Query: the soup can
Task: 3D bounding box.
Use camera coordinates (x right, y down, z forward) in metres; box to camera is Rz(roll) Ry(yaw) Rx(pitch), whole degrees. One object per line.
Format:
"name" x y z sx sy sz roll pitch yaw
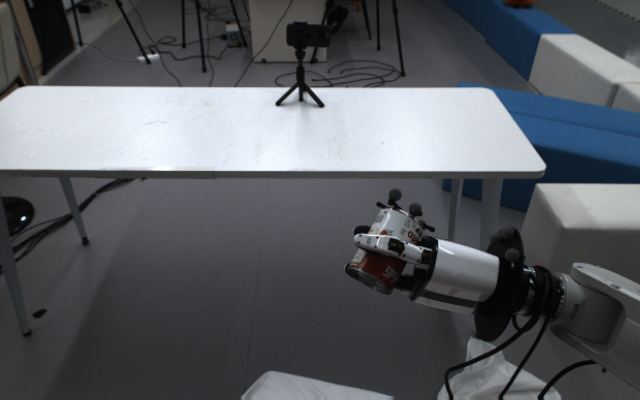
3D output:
"soup can" 0.092 0.068 0.661 0.067 0.067 0.101 23 71 27
